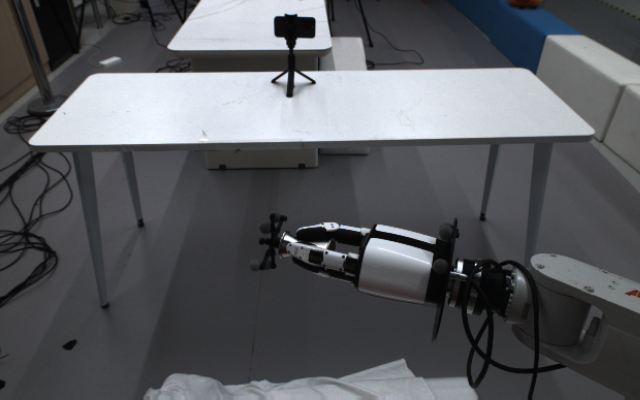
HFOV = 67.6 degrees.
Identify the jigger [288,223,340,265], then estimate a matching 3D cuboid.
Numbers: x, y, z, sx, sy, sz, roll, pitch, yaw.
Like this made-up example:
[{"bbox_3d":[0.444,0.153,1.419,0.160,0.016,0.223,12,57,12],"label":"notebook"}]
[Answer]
[{"bbox_3d":[-0.012,0.064,0.660,0.071,0.043,0.043,10,35,16],"label":"jigger"}]
